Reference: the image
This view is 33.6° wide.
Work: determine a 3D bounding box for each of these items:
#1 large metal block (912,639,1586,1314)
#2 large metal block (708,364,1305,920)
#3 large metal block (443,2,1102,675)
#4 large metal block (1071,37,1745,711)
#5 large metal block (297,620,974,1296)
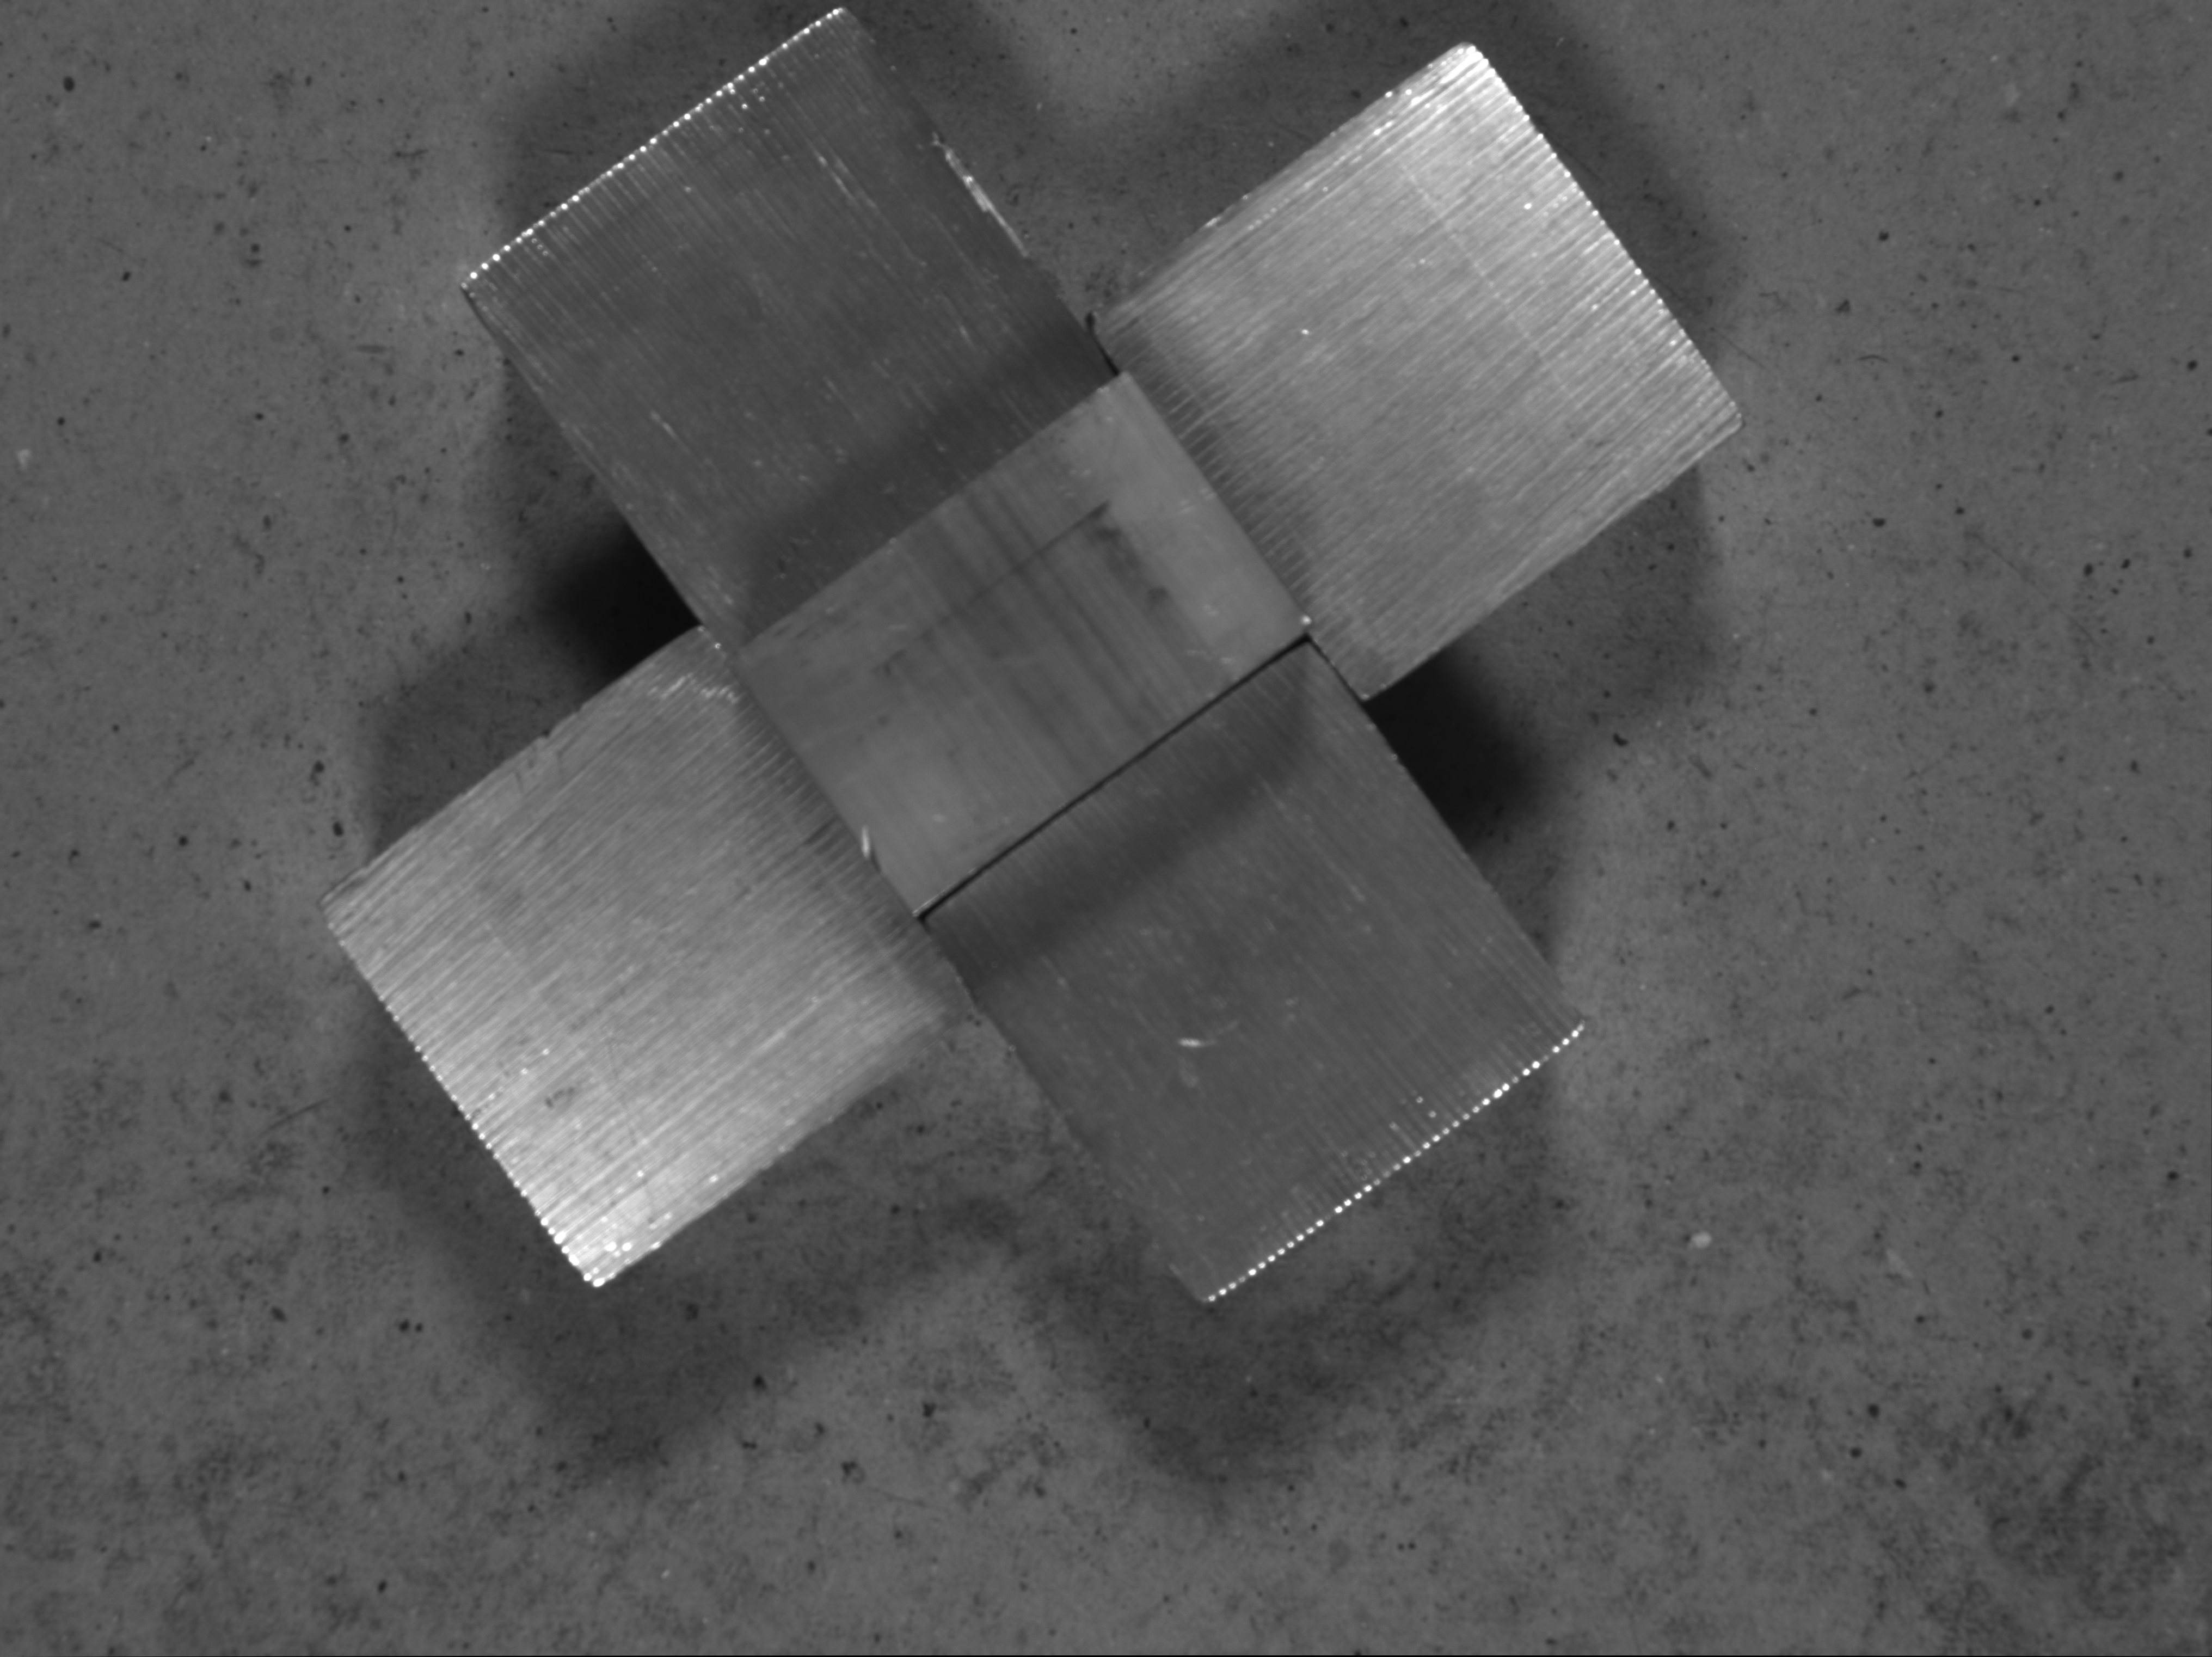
[{"bbox_3d":[0.024,0.025,0.632,0.080,0.050,0.080,-36,90,0],"label":"large metal block"},{"bbox_3d":[-0.016,-0.029,0.617,0.080,0.080,0.050,-36,90,0],"label":"large metal block"},{"bbox_3d":[-0.054,-0.081,0.632,0.080,0.050,0.080,-36,90,0],"label":"large metal block"},{"bbox_3d":[0.050,-0.075,0.633,0.080,0.050,0.080,-36,90,0],"label":"large metal block"},{"bbox_3d":[-0.078,0.021,0.631,0.080,0.050,0.080,-36,90,0],"label":"large metal block"}]
